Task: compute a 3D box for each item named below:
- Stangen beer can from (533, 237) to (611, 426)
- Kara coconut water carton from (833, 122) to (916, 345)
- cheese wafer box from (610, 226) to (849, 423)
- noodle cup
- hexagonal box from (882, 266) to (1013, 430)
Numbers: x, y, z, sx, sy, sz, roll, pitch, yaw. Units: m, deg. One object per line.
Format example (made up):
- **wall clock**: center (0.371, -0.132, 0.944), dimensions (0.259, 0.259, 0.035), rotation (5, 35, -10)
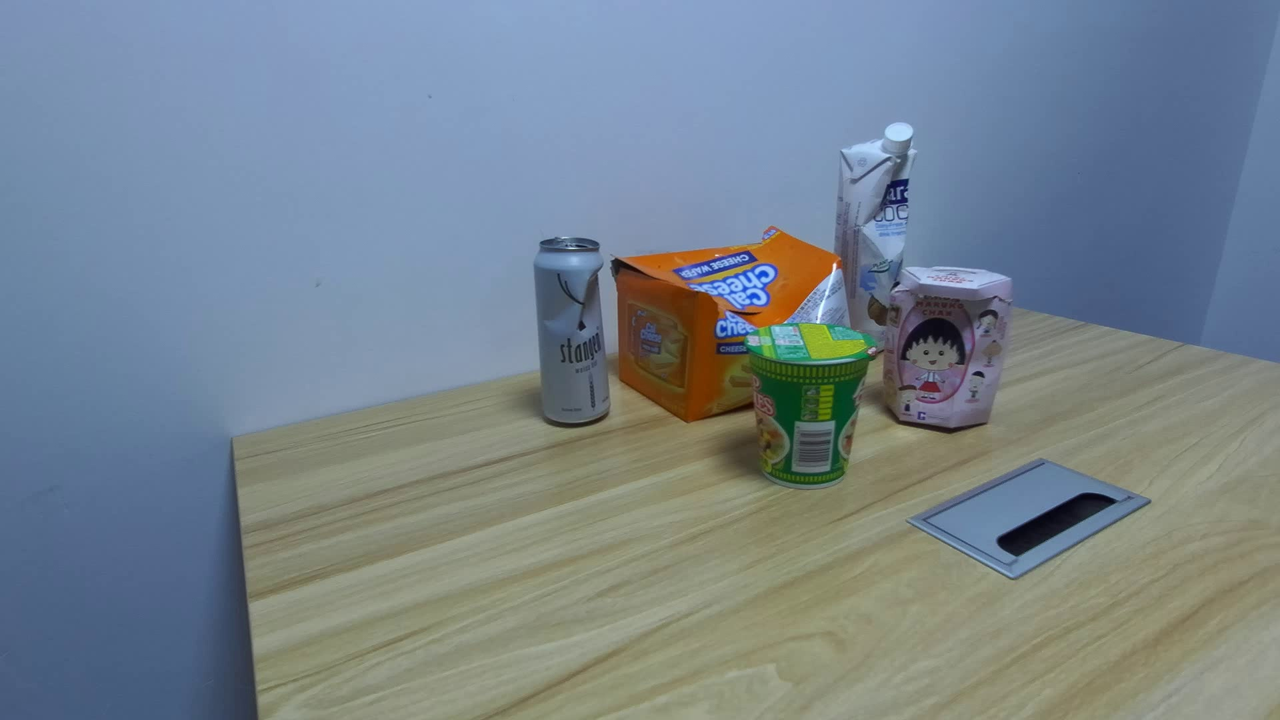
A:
- **Stangen beer can**: center (-0.060, -0.027, 0.659), dimensions (0.070, 0.173, 0.069), rotation (-12, 21, -29)
- **Kara coconut water carton**: center (0.262, -0.135, 0.806), dimensions (0.083, 0.255, 0.078), rotation (-12, 23, -29)
- **cheese wafer box**: center (0.108, -0.045, 0.733), dimensions (0.220, 0.145, 0.190), rotation (-13, 21, -28)
- **noodle cup**: center (0.128, 0.036, 0.546), dimensions (0.097, 0.110, 0.097), rotation (-2, 19, 1)
- **hexagonal box**: center (0.276, -0.013, 0.644), dimensions (0.090, 0.134, 0.091), rotation (-6, 19, -18)
